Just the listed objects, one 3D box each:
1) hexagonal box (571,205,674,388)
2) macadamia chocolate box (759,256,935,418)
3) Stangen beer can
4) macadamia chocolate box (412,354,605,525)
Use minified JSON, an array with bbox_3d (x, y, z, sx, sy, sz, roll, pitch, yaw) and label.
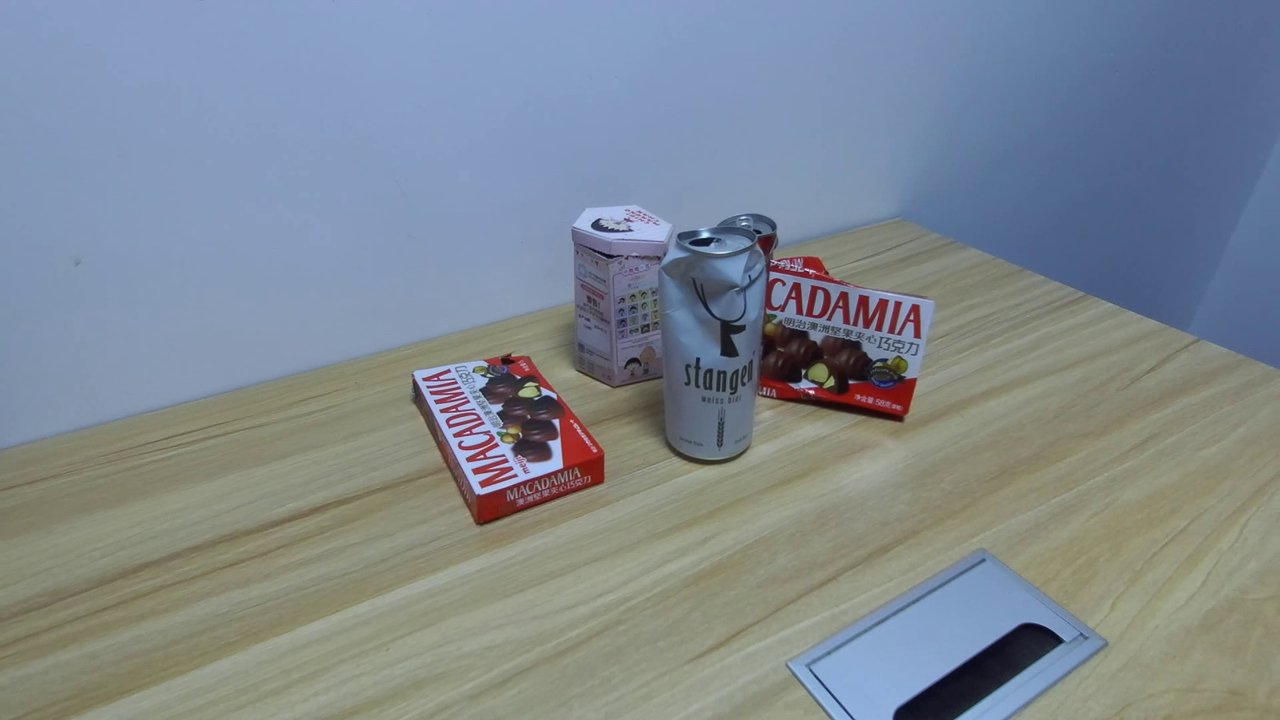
[{"bbox_3d":[-0.015,-0.055,0.600,0.091,0.135,0.085,25,39,35],"label":"hexagonal box"},{"bbox_3d":[0.162,-0.019,0.565,0.126,0.112,0.056,11,31,17],"label":"macadamia chocolate box"},{"bbox_3d":[0.051,-0.009,0.499,0.065,0.166,0.066,14,34,25],"label":"Stangen beer can"},{"bbox_3d":[-0.107,0.046,0.551,0.103,0.027,0.186,-15,35,-25],"label":"macadamia chocolate box"}]
